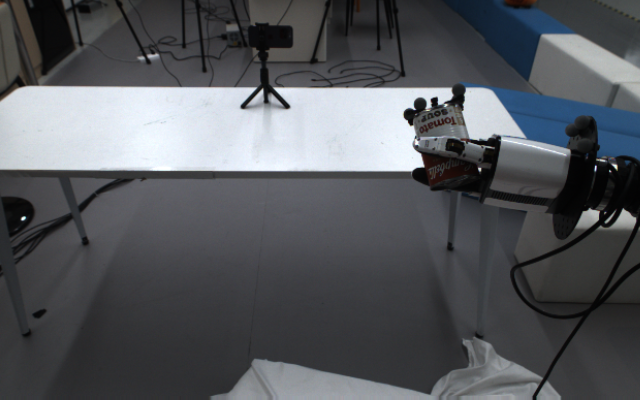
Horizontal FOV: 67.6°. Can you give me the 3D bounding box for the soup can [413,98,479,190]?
[{"bbox_3d":[0.170,-0.071,0.654,0.067,0.067,0.101,-10,80,-16],"label":"soup can"}]
